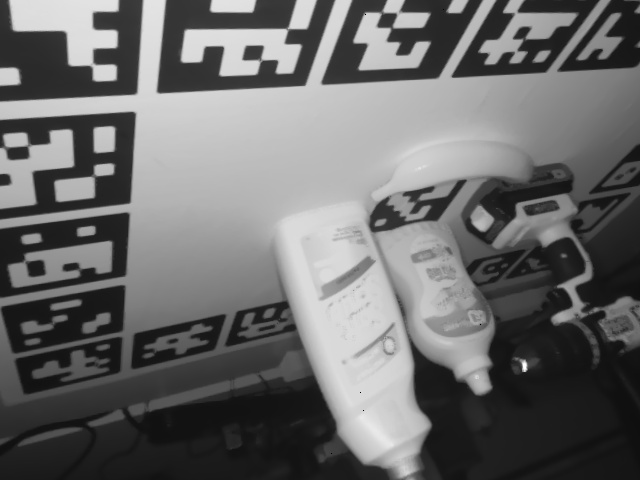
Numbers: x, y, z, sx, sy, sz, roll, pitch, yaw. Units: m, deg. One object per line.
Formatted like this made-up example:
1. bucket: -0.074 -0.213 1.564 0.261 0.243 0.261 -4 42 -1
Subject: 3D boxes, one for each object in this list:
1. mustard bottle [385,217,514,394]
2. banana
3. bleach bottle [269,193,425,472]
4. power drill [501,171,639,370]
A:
1. mustard bottle: 0.143 0.068 0.713 0.097 0.192 0.058 -11 147 -16
2. banana: 0.130 -0.072 0.637 0.200 0.039 0.073 -12 143 -21
3. bleach bottle: 0.034 0.077 0.617 0.103 0.251 0.067 -17 147 -9
4. power drill: 0.252 0.027 0.686 0.186 0.187 0.057 -12 154 -13
